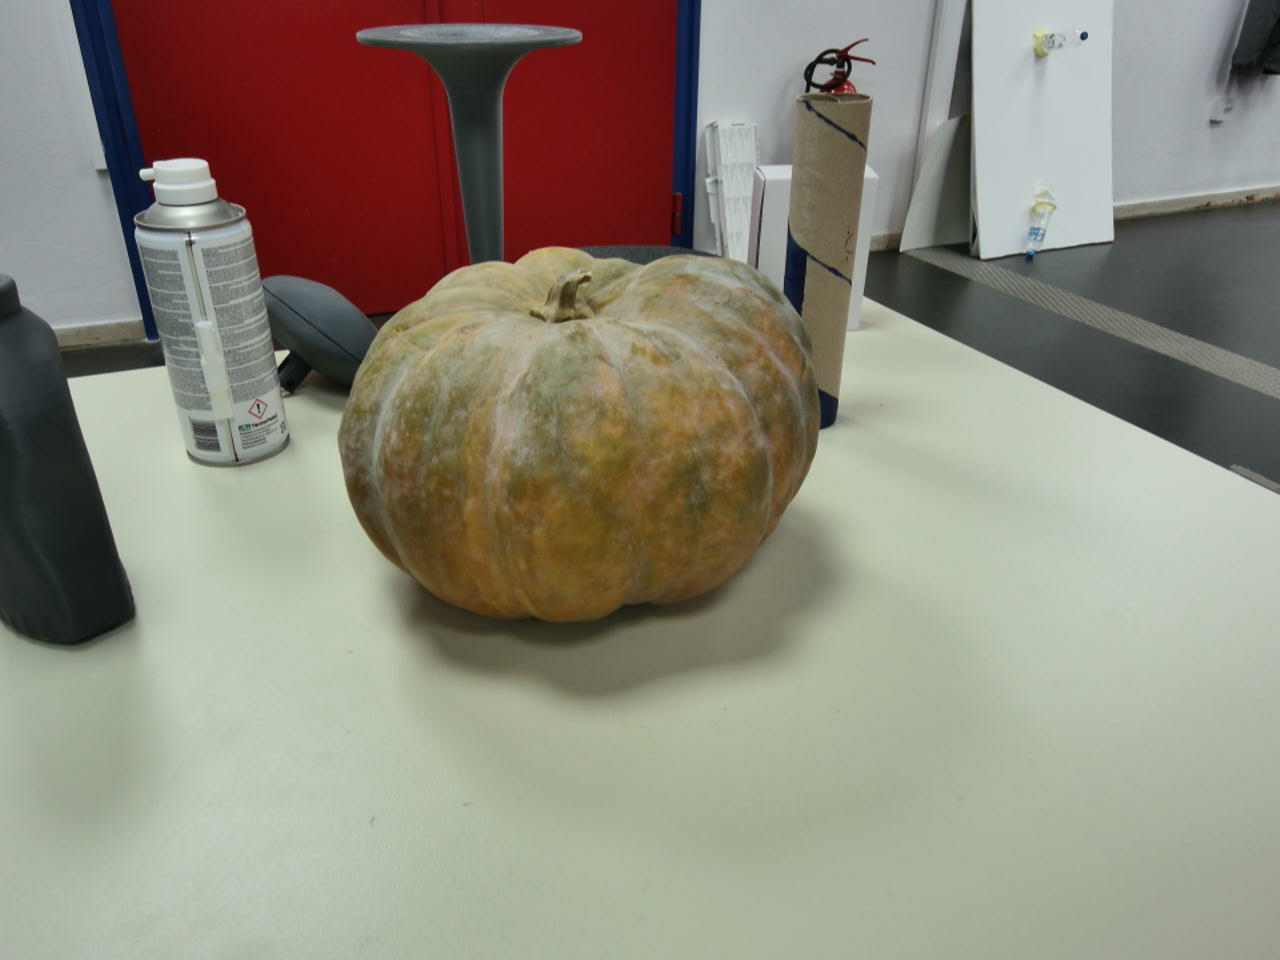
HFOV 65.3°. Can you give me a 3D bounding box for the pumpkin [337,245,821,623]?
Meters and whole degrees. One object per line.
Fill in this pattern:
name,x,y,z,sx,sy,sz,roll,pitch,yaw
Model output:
pumpkin,-0.034,-0.030,0.530,0.252,0.169,0.251,0,26,0
